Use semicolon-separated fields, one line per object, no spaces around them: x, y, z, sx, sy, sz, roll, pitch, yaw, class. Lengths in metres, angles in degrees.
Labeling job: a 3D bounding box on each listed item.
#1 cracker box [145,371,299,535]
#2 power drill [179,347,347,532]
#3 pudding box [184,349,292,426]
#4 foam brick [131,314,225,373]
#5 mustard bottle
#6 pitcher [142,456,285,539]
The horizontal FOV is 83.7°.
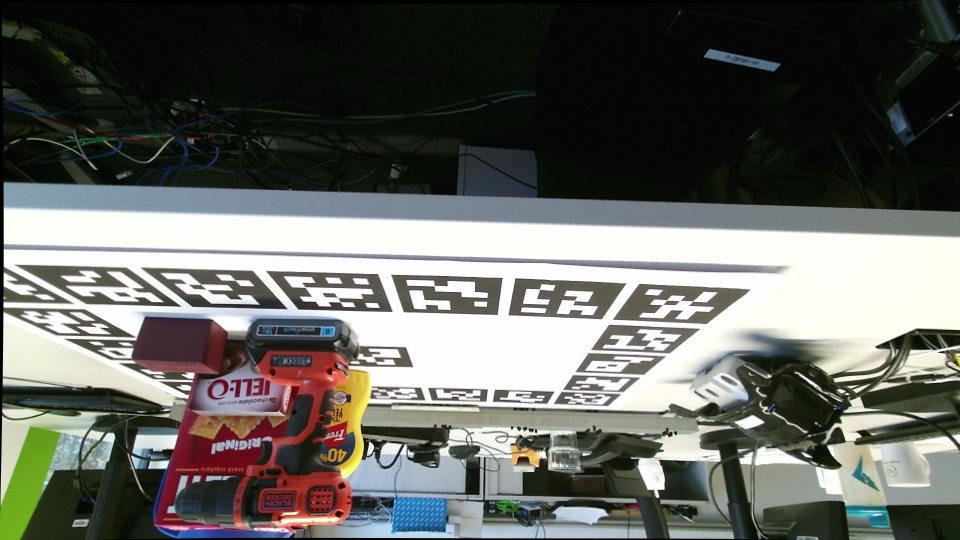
-0.304;0.216;0.680;0.165;0.212;0.072;-1;153;-2;cracker box
-0.229;0.180;0.578;0.185;0.186;0.057;2;155;-1;power drill
-0.293;0.146;0.663;0.114;0.089;0.039;0;153;-4;pudding box
-0.347;0.085;0.620;0.078;0.051;0.053;3;150;-4;foam brick
-0.222;0.263;0.776;0.096;0.190;0.058;8;149;-14;mustard bottle
-0.356;0.268;0.766;0.189;0.241;0.133;3;151;-9;pitcher
